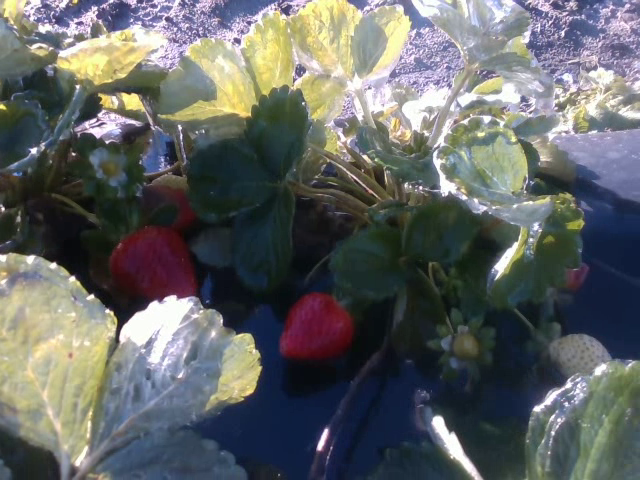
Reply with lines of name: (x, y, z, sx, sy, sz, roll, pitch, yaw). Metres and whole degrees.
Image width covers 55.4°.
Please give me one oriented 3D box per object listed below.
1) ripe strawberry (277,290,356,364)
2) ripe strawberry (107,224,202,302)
ripe strawberry: (-0.003, 0.044, 0.286, 0.039, 0.040, 0.047, 36, 53, 18)
ripe strawberry: (-0.086, 0.013, 0.318, 0.044, 0.056, 0.040, -35, -24, -20)
